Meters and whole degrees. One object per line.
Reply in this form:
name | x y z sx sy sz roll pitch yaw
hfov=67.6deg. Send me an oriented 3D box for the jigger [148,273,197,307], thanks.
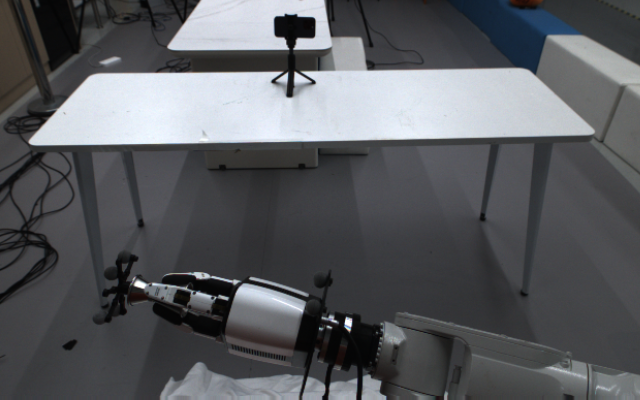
jigger | -0.191 0.116 0.601 0.071 0.043 0.043 10 35 1
